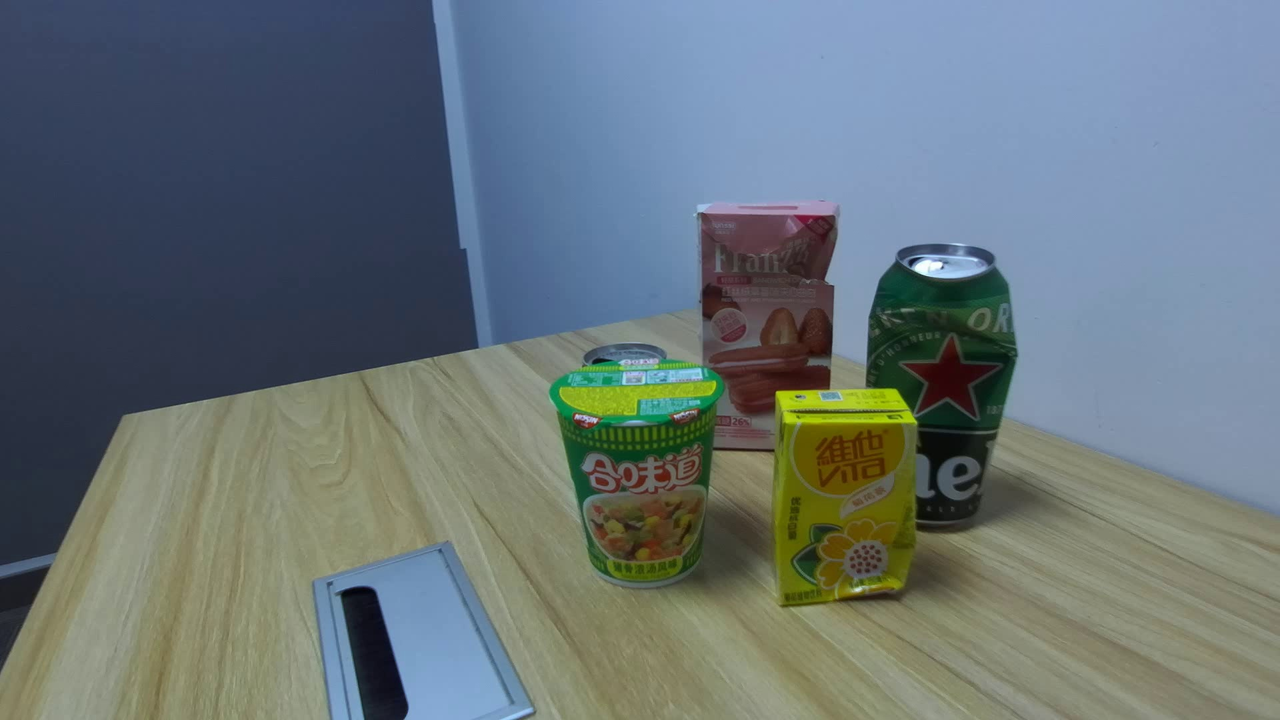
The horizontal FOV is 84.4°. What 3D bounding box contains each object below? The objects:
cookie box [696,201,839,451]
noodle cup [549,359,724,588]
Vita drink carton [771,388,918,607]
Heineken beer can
[{"bbox_3d":[0.094,-0.023,0.533,0.105,0.186,0.059,2,19,13],"label":"cookie box"},{"bbox_3d":[0.000,0.065,0.407,0.097,0.110,0.097,-1,20,1],"label":"noodle cup"},{"bbox_3d":[0.108,0.072,0.370,0.076,0.109,0.043,-1,19,4],"label":"Vita drink carton"},{"bbox_3d":[0.178,0.018,0.430,0.069,0.168,0.068,-18,26,-28],"label":"Heineken beer can"}]
